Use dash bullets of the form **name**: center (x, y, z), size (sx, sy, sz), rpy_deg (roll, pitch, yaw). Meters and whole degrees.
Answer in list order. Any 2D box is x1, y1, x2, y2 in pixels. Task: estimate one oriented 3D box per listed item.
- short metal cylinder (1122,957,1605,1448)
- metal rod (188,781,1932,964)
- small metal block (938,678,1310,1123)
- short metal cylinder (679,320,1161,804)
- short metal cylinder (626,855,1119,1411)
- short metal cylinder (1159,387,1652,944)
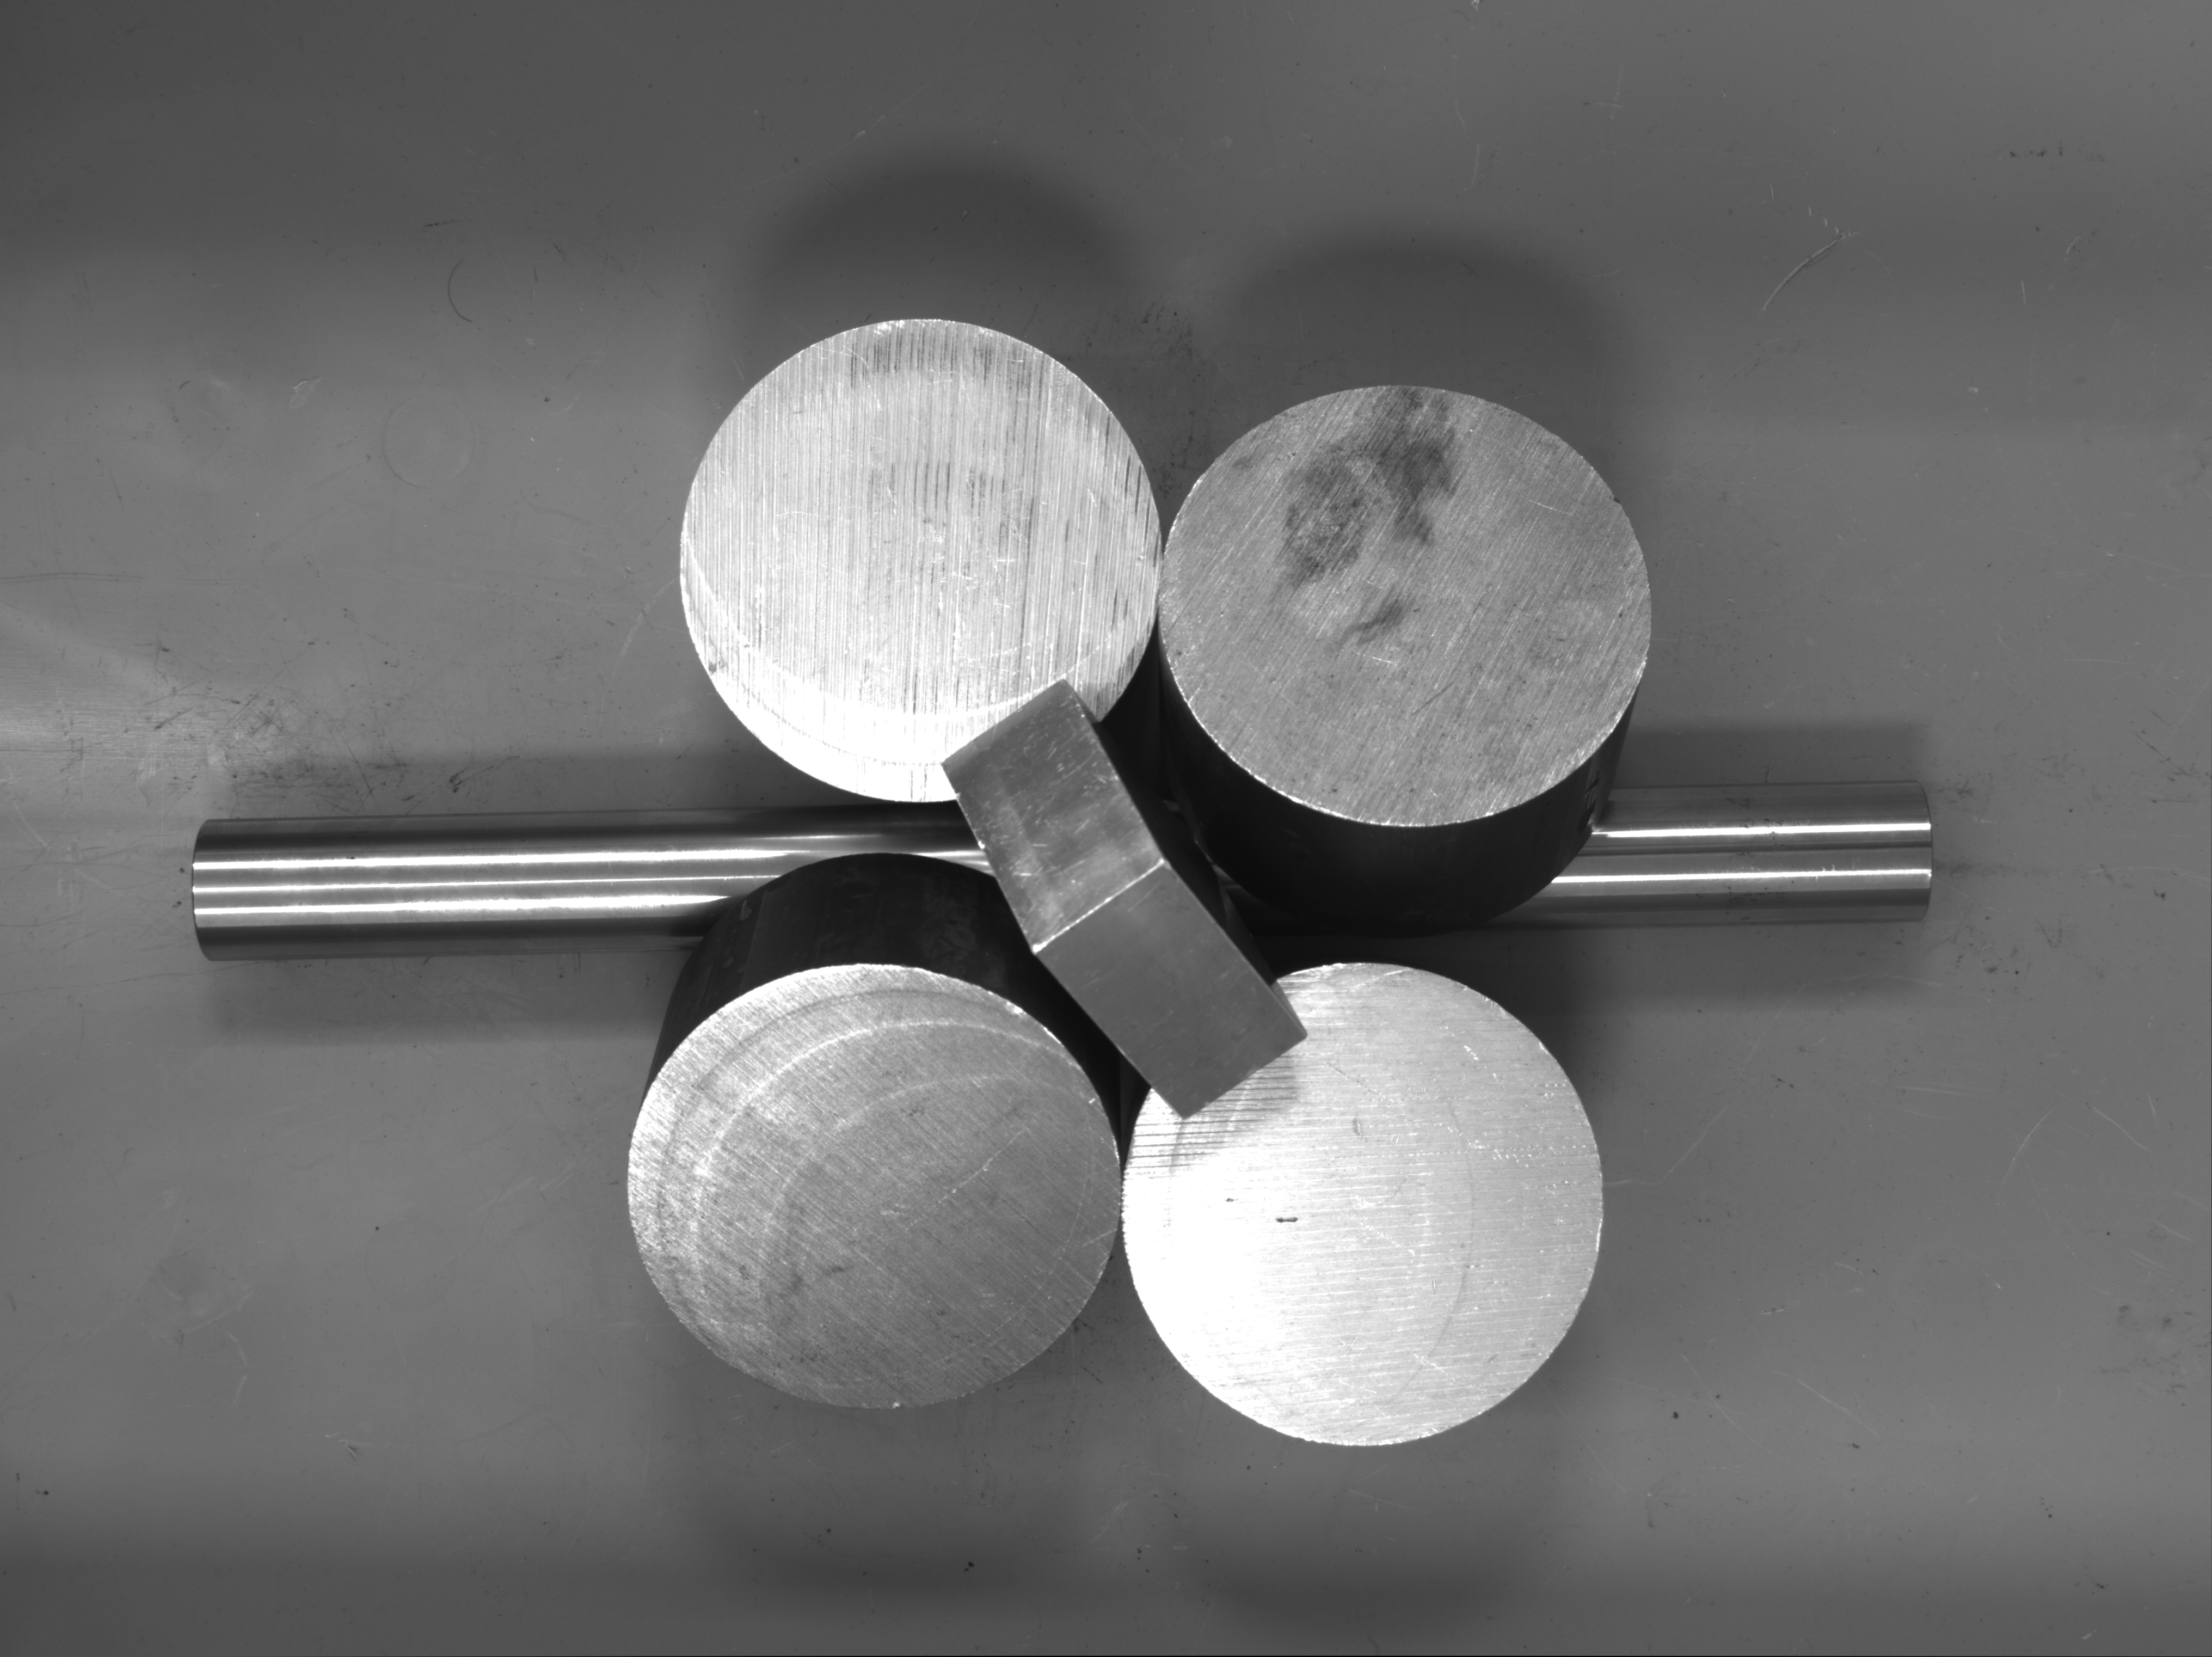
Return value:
- **short metal cylinder**: center (0.043, 0.062, 0.632), size (0.080, 0.050, 0.080), rpy_deg (0, 90, 0)
- **metal rod**: center (-0.008, 0.008, 0.644), size (0.300, 0.025, 0.025), rpy_deg (-1, 90, 0)
- **small metal block**: center (0.003, 0.012, 0.596), size (0.025, 0.050, 0.050), rpy_deg (-35, 132, 6)
- **short metal cylinder**: center (-0.030, -0.044, 0.632), size (0.080, 0.050, 0.080), rpy_deg (0, 90, 0)
- **short metal cylinder**: center (-0.038, 0.051, 0.620), size (0.080, 0.050, 0.080), rpy_deg (0, 110, -1)
- **short metal cylinder**: center (0.049, -0.027, 0.619), size (0.080, 0.050, 0.080), rpy_deg (0, 67, 0)
